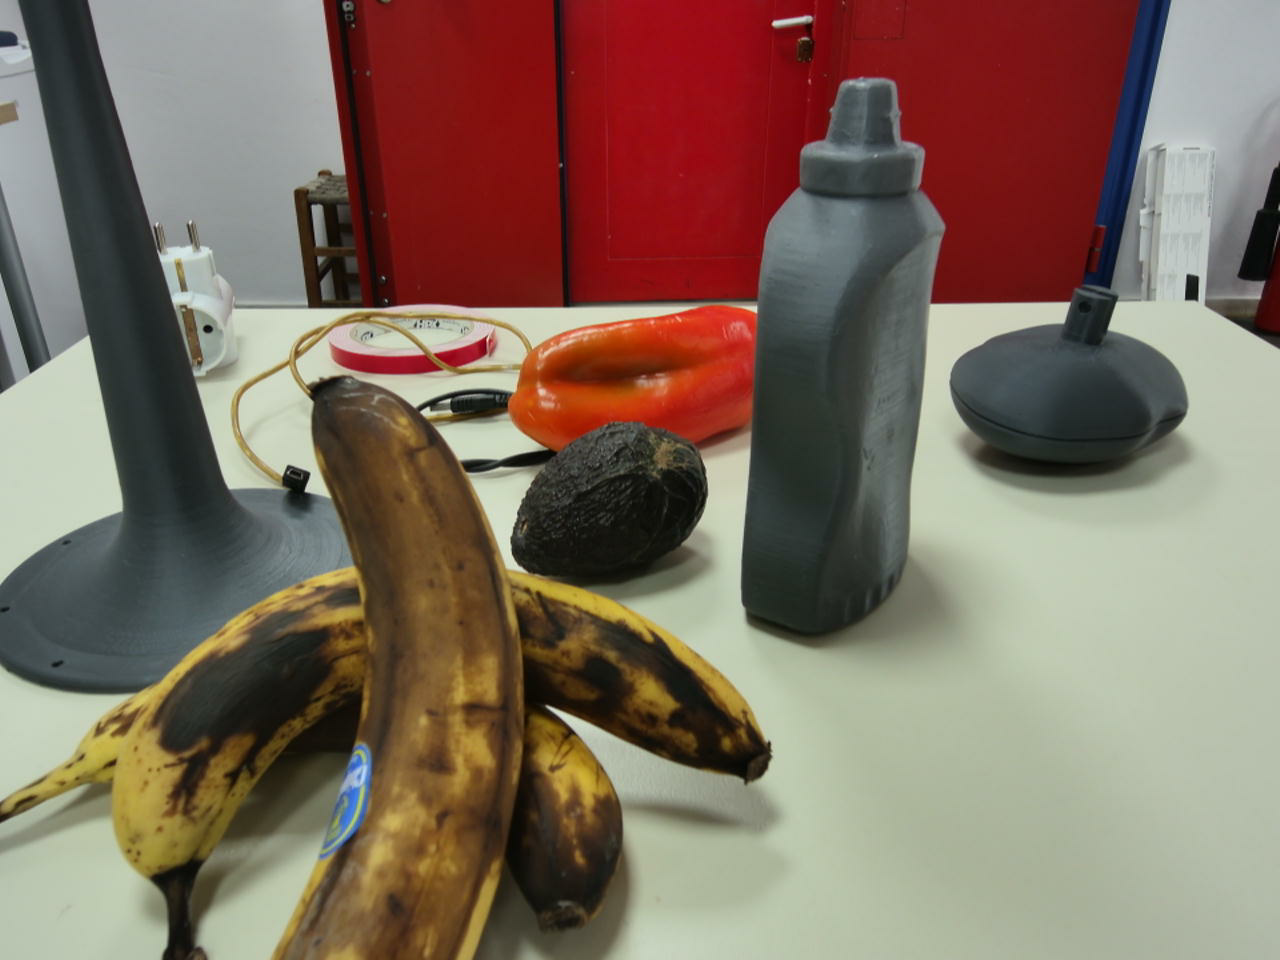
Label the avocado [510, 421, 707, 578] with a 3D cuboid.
[{"bbox_3d":[-0.014,0.008,0.426,0.092,0.062,0.062,-11,27,-22],"label":"avocado"}]
